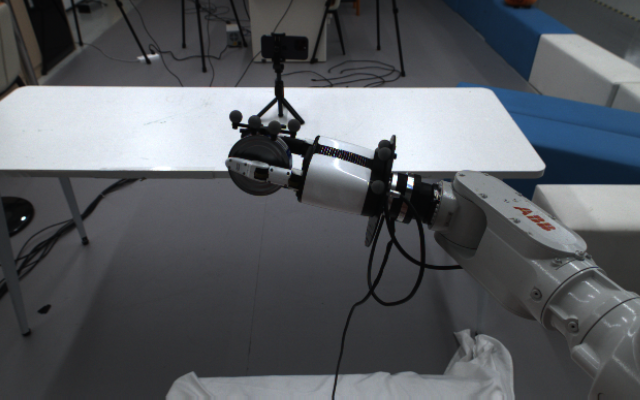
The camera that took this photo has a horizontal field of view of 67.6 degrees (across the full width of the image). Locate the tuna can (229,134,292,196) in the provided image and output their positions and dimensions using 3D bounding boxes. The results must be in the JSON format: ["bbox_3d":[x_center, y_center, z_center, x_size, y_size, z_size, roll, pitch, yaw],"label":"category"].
[{"bbox_3d":[-0.081,-0.052,0.667,0.085,0.085,0.034,5,18,5],"label":"tuna can"}]
